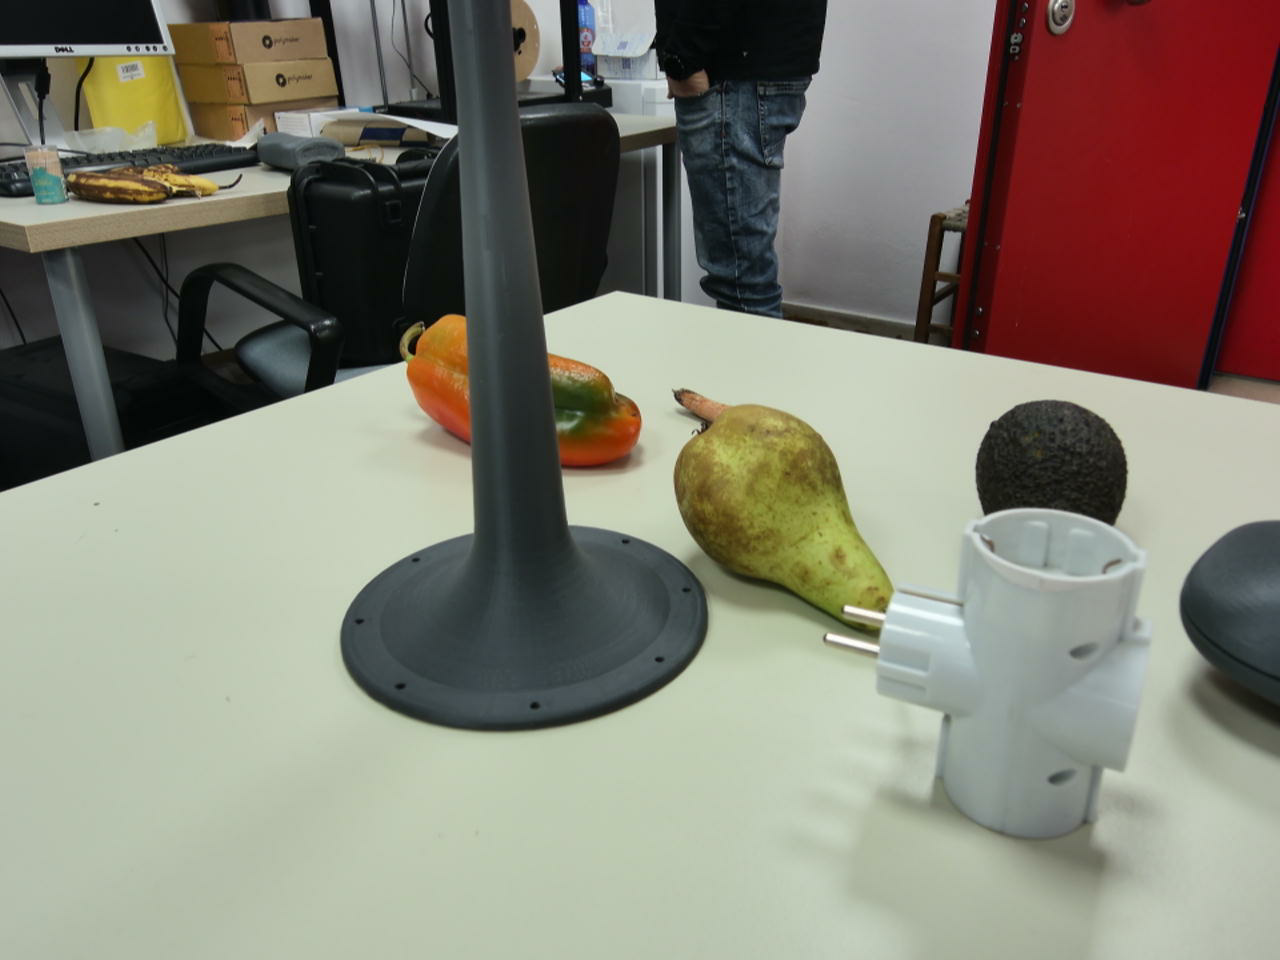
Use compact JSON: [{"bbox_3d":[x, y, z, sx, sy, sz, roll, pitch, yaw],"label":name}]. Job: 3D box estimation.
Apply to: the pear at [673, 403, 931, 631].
[{"bbox_3d":[0.076,0.014,0.419,0.071,0.075,0.144,-21,30,-40],"label":"pear"}]
